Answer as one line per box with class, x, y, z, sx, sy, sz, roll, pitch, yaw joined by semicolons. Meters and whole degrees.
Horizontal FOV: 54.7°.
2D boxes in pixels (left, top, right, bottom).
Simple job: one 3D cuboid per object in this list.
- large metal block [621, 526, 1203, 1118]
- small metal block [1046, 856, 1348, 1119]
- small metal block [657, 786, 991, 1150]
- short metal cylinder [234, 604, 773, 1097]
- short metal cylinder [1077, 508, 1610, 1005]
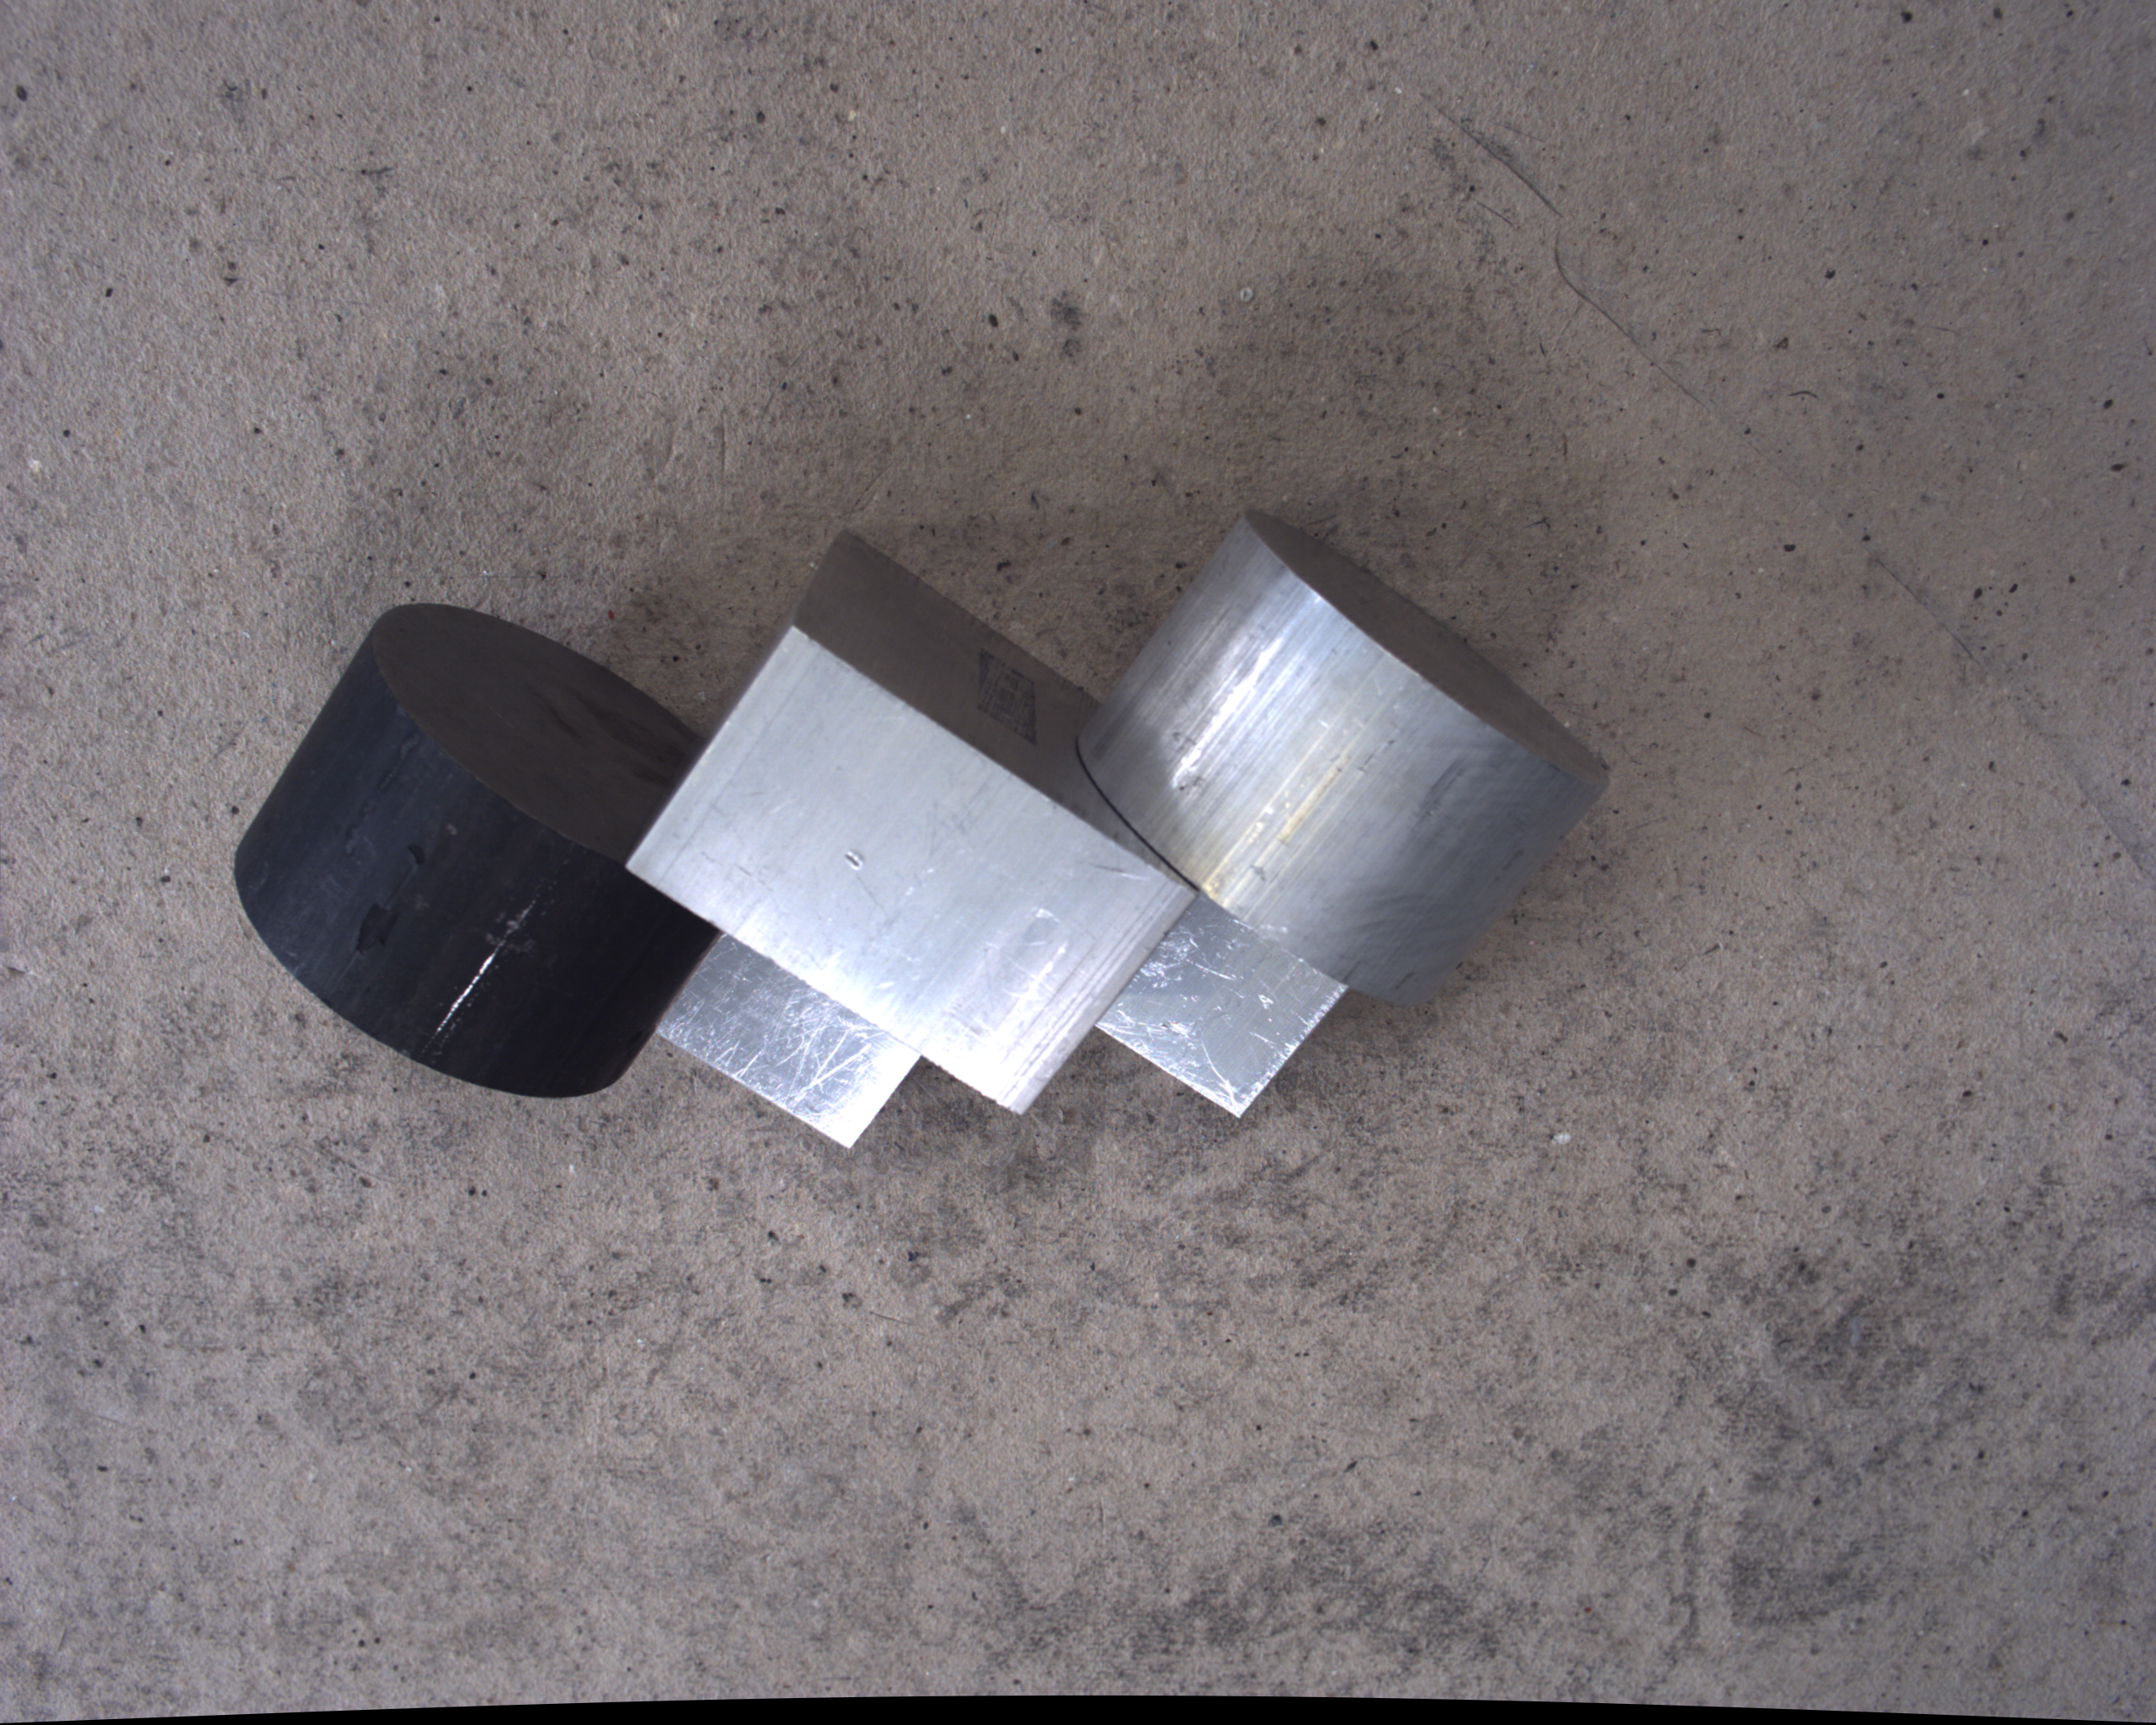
large metal block;-0.027;-0.011;0.378;0.080;0.080;0.050;33;107;-12
small metal block;0.026;0.015;0.417;0.050;0.025;0.050;34;107;-12
small metal block;-0.052;0.021;0.419;0.050;0.025;0.050;34;107;-12
short metal cylinder;-0.103;-0.003;0.380;0.080;0.080;0.050;33;107;-12
short metal cylinder;0.047;-0.020;0.375;0.080;0.080;0.050;34;107;-12
